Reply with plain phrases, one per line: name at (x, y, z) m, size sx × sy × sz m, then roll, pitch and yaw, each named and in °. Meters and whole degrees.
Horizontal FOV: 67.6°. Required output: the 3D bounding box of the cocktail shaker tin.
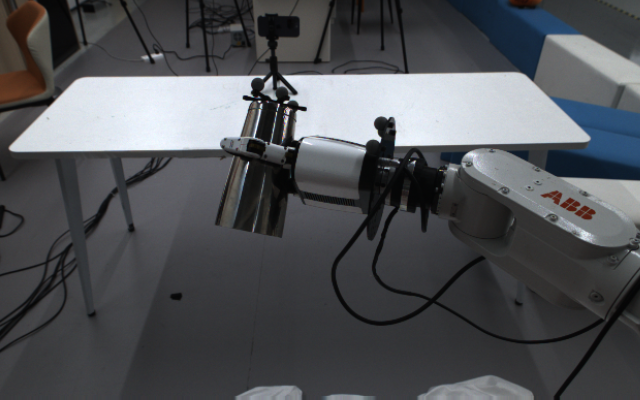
cocktail shaker tin at (-0.079, -0.041, 0.650) m, size 0.093 × 0.170 × 0.093 m, roll 11°, pitch -5°, yaw 1°
